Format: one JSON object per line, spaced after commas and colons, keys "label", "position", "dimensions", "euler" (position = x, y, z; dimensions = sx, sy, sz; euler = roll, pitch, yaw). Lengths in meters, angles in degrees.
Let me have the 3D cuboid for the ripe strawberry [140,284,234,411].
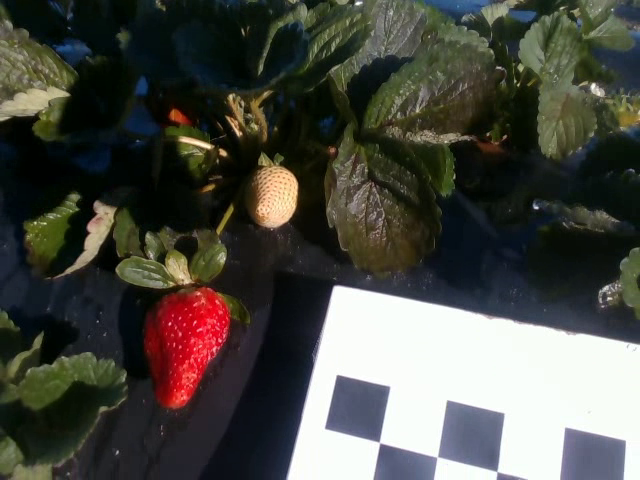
{"label": "ripe strawberry", "position": [-0.064, 0.051, 0.290], "dimensions": [0.048, 0.069, 0.040], "euler": [-7, -31, 4]}
